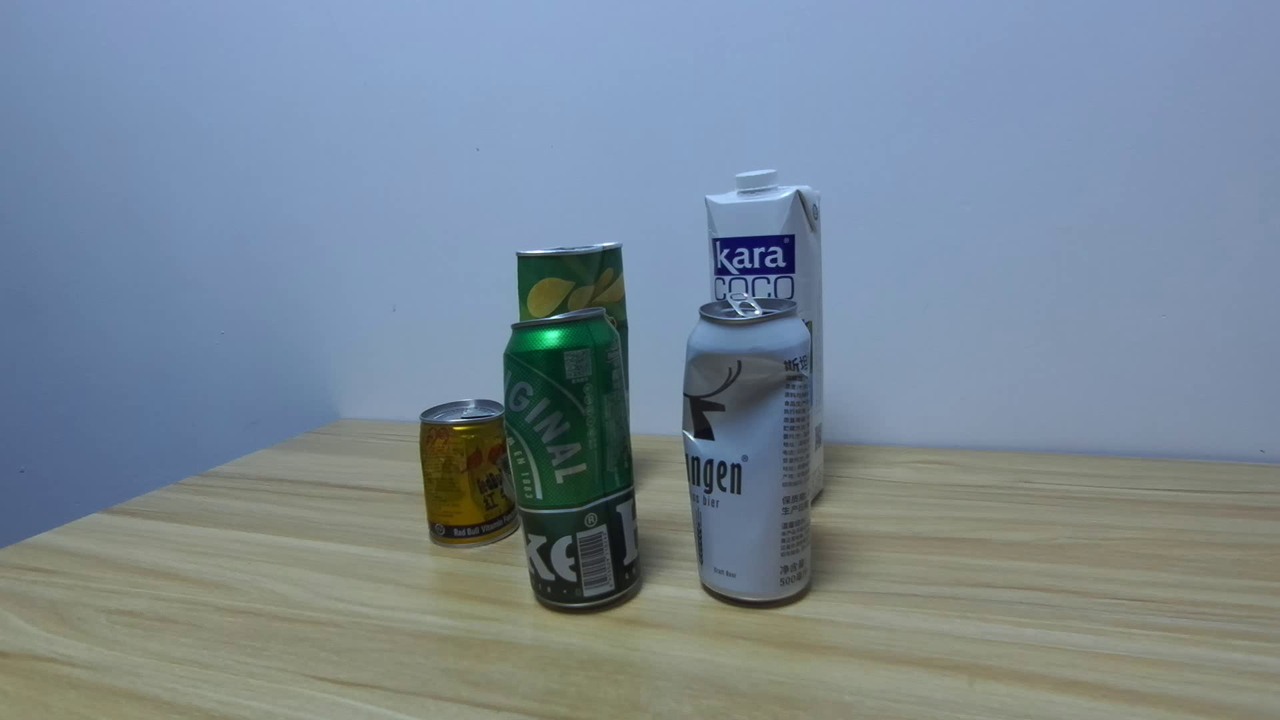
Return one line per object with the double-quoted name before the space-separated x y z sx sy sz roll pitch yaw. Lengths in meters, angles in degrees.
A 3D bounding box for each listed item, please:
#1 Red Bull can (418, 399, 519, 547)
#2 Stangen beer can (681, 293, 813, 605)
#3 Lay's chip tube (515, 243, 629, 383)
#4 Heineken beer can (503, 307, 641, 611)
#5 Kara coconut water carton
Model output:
"Red Bull can" -0.123 0.080 0.513 0.072 0.092 0.072 -4 11 1
"Stangen beer can" 0.063 0.051 0.401 0.070 0.173 0.070 -6 12 -14
"Lay's chip tube" -0.045 0.013 0.549 0.069 0.199 0.075 -3 8 13
"Heineken beer can" -0.038 0.058 0.415 0.068 0.168 0.069 -7 7 -5
"Kara coconut water carton" 0.094 -0.013 0.524 0.076 0.245 0.075 2 12 29
